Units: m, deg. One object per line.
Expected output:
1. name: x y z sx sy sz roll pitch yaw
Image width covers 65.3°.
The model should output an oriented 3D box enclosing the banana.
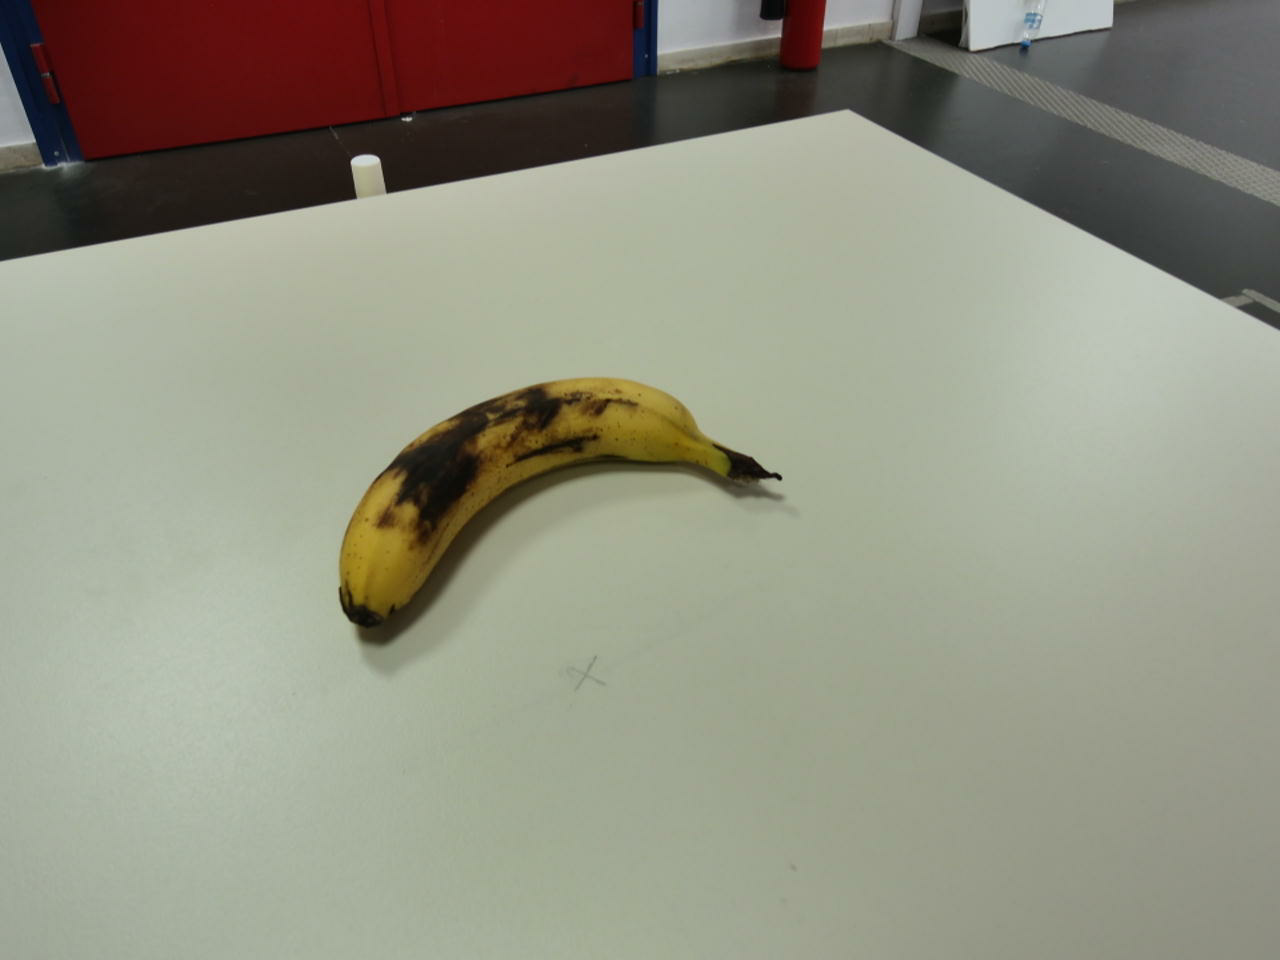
1. banana: -0.045 -0.004 0.423 0.187 0.039 0.094 -18 41 -23
